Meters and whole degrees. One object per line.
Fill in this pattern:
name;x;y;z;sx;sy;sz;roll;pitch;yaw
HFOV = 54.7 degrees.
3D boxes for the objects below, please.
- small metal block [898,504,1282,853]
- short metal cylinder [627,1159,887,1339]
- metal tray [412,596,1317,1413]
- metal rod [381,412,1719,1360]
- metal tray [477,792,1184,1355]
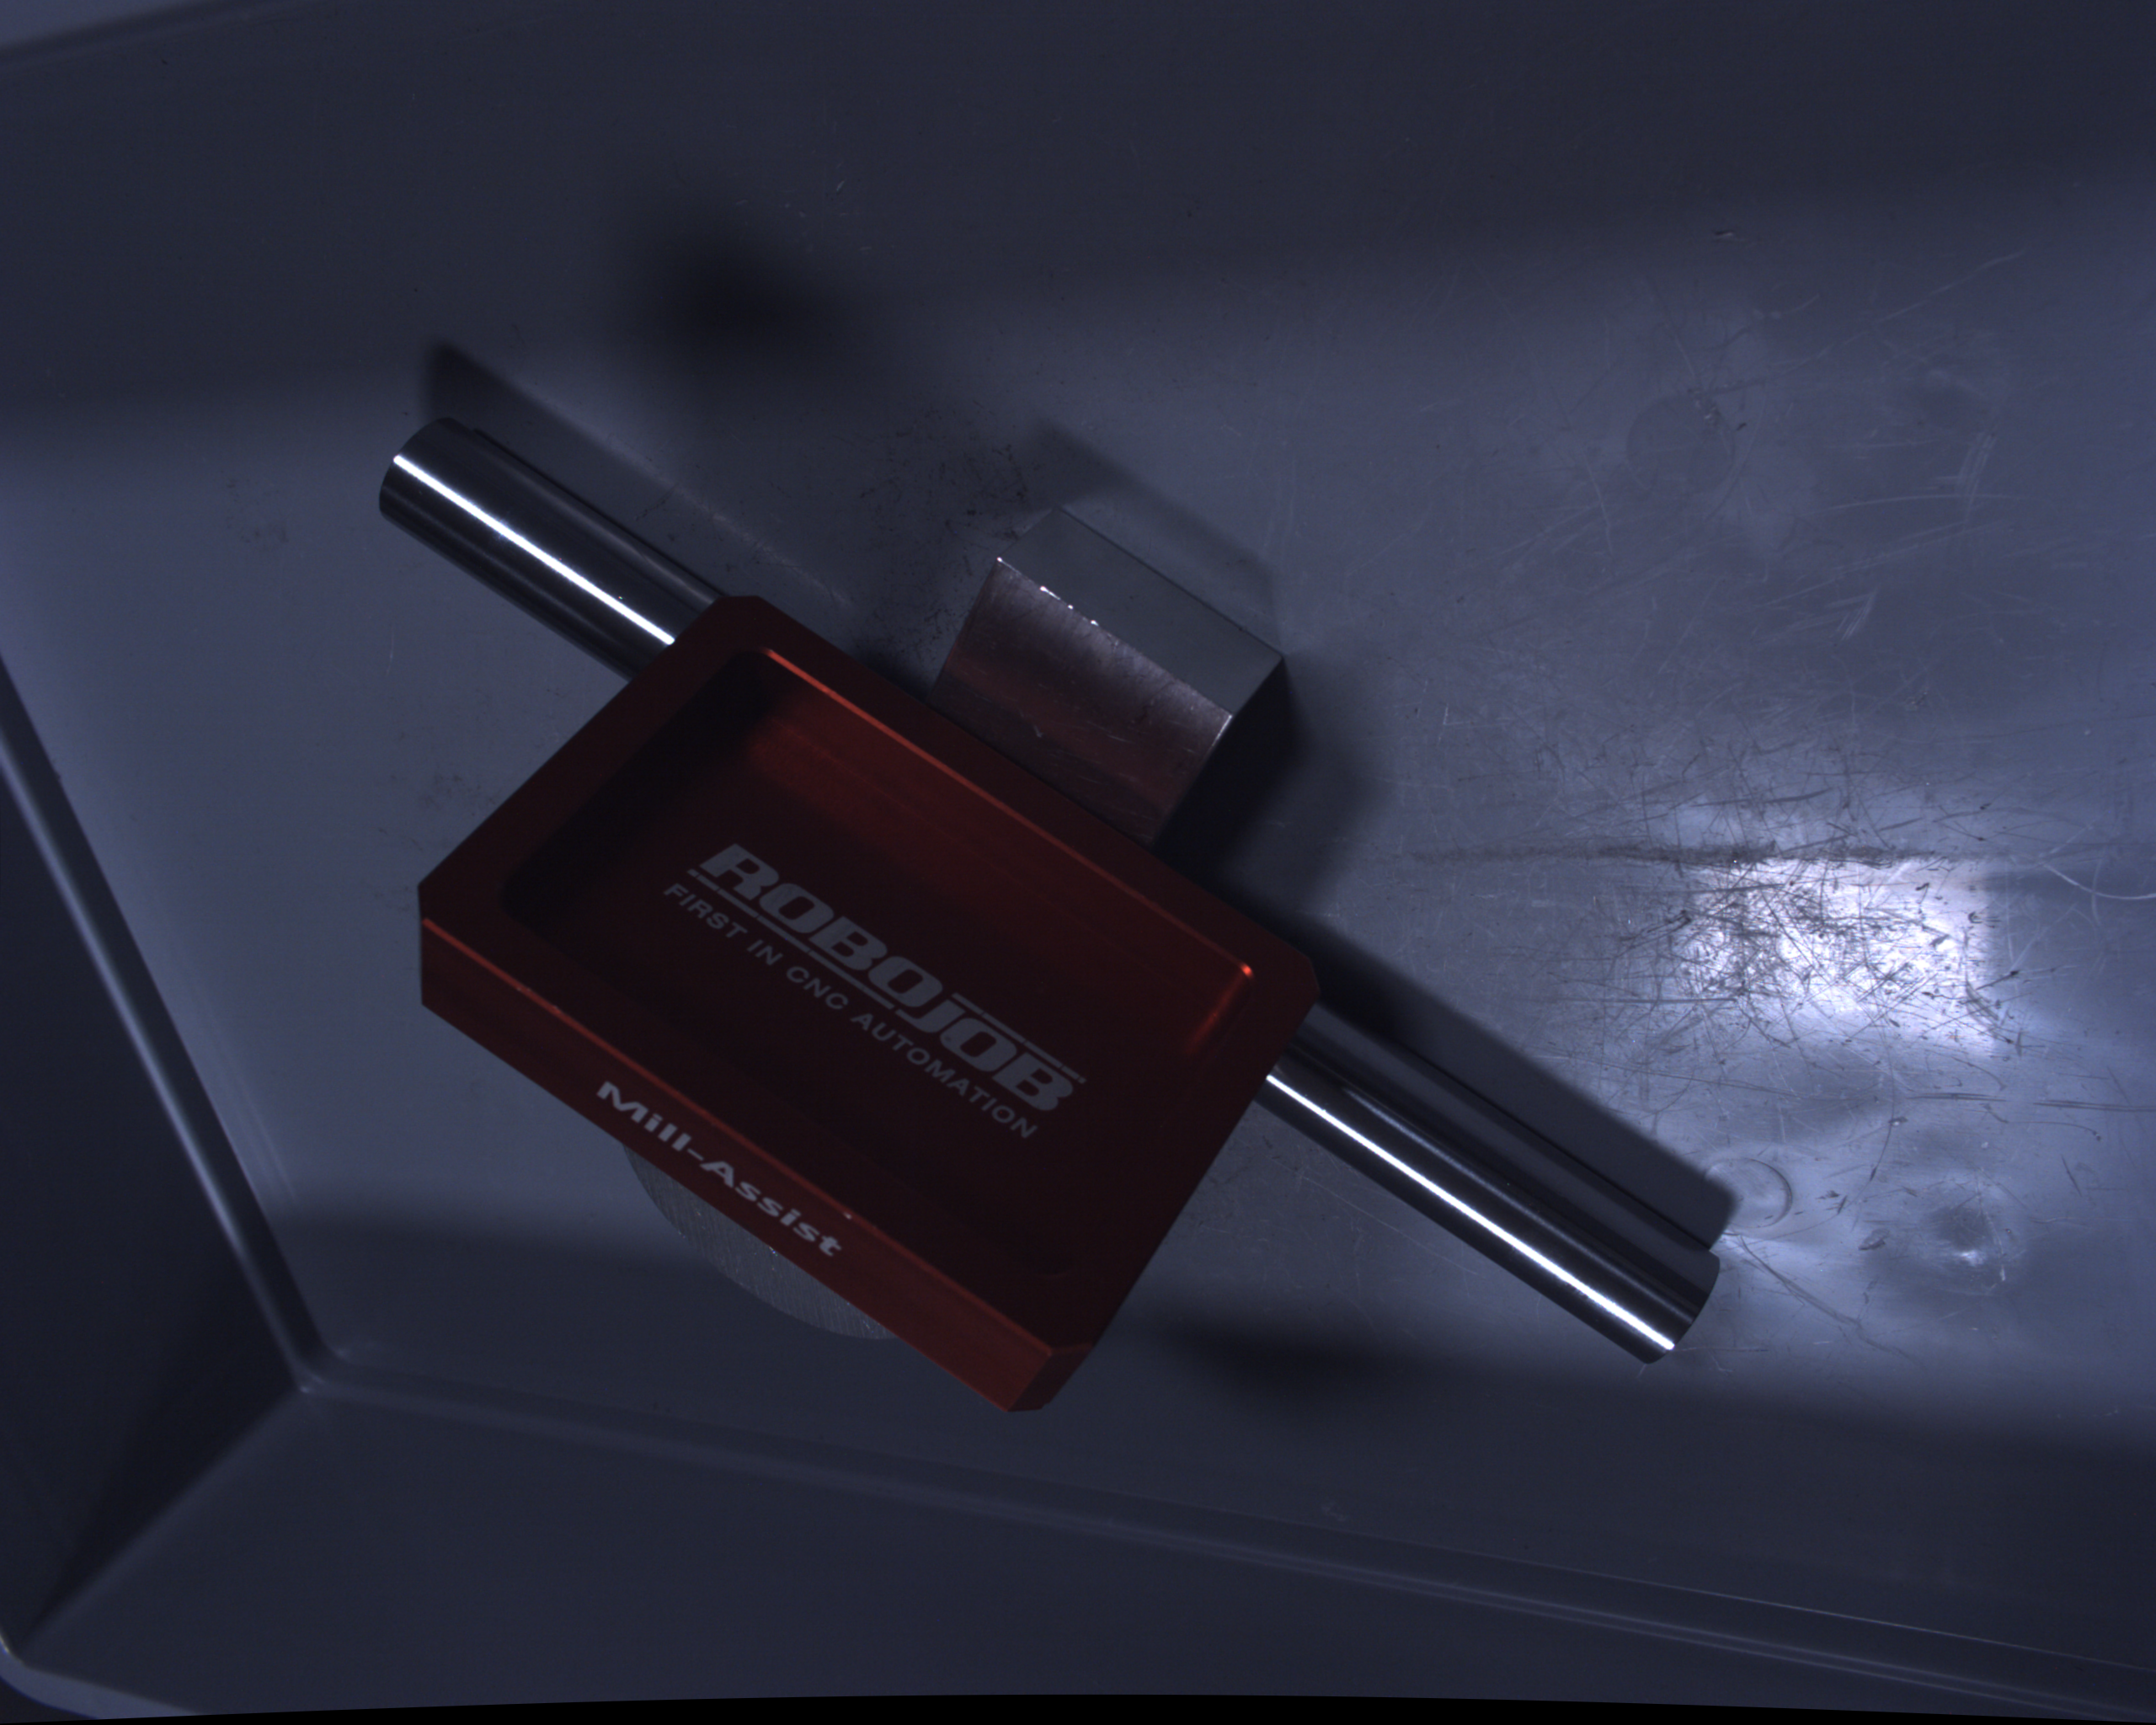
small metal block;0.001;-0.029;0.387;0.050;0.025;0.050;35;129;4
short metal cylinder;-0.050;0.054;0.441;0.080;0.050;0.079;19;134;21
metal tray;-0.036;0.021;0.362;0.130;0.090;0.030;34;146;5
metal rod;-0.009;0.002;0.413;0.301;0.025;0.025;34;129;5
metal tray;-0.038;0.034;0.405;0.130;0.090;0.030;34;129;5
